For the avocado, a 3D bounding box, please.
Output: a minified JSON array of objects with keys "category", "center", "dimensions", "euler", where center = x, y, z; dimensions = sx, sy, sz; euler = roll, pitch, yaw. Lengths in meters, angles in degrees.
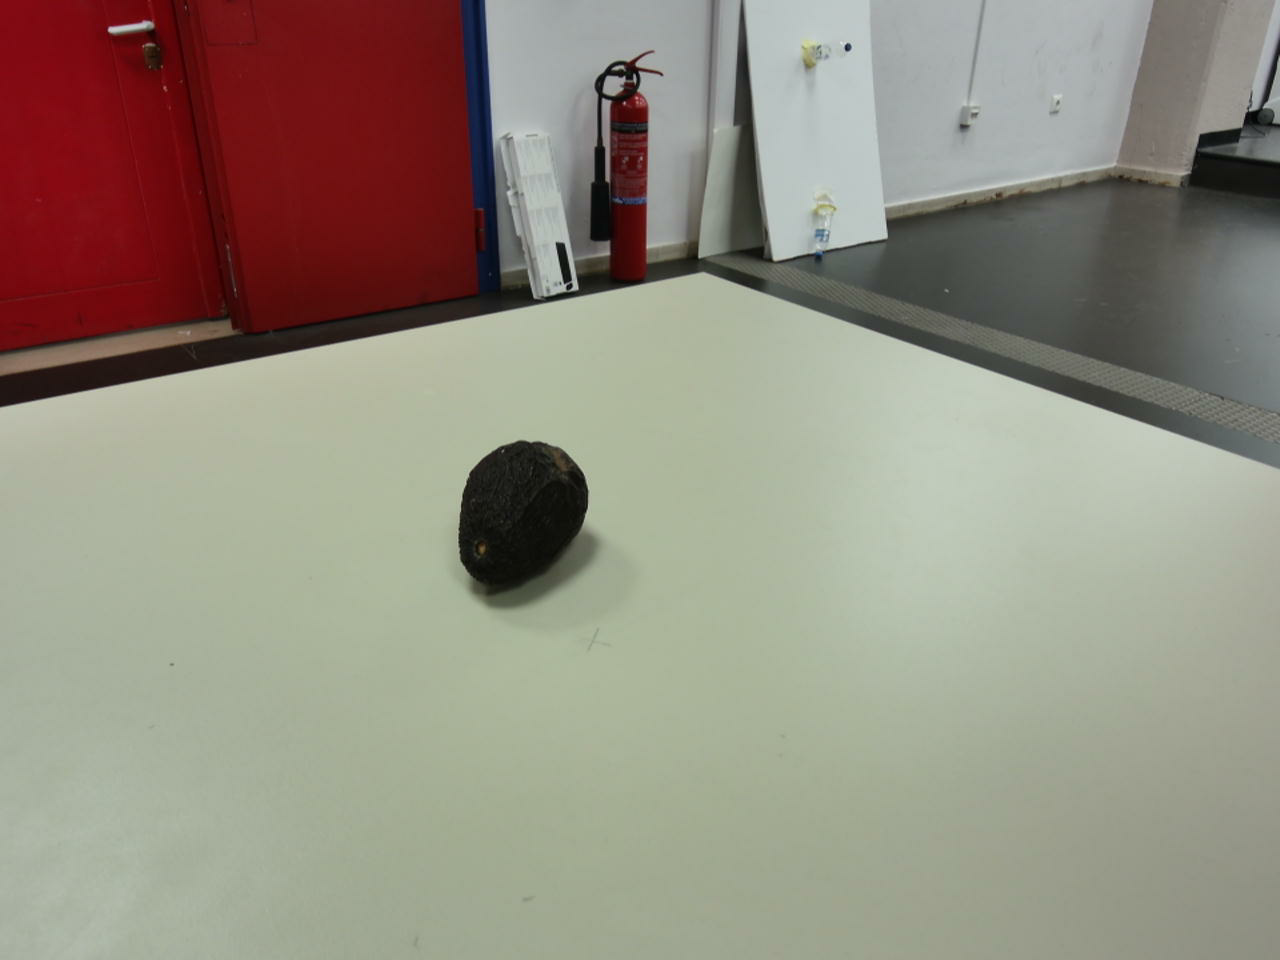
[{"category":"avocado","center":[-0.062,0.015,0.509],"dimensions":[0.062,0.062,0.092],"euler":[13,29,26]}]
